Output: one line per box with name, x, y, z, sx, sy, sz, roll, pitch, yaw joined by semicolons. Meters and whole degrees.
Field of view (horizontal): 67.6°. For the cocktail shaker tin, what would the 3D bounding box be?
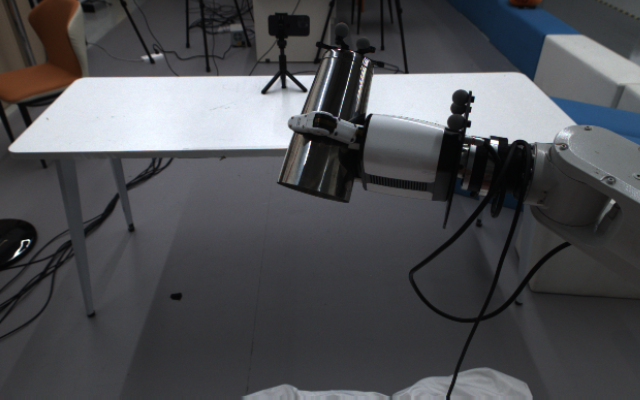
cocktail shaker tin;0.014;-0.091;0.592;0.093;0.170;0.093;16;-4;1
